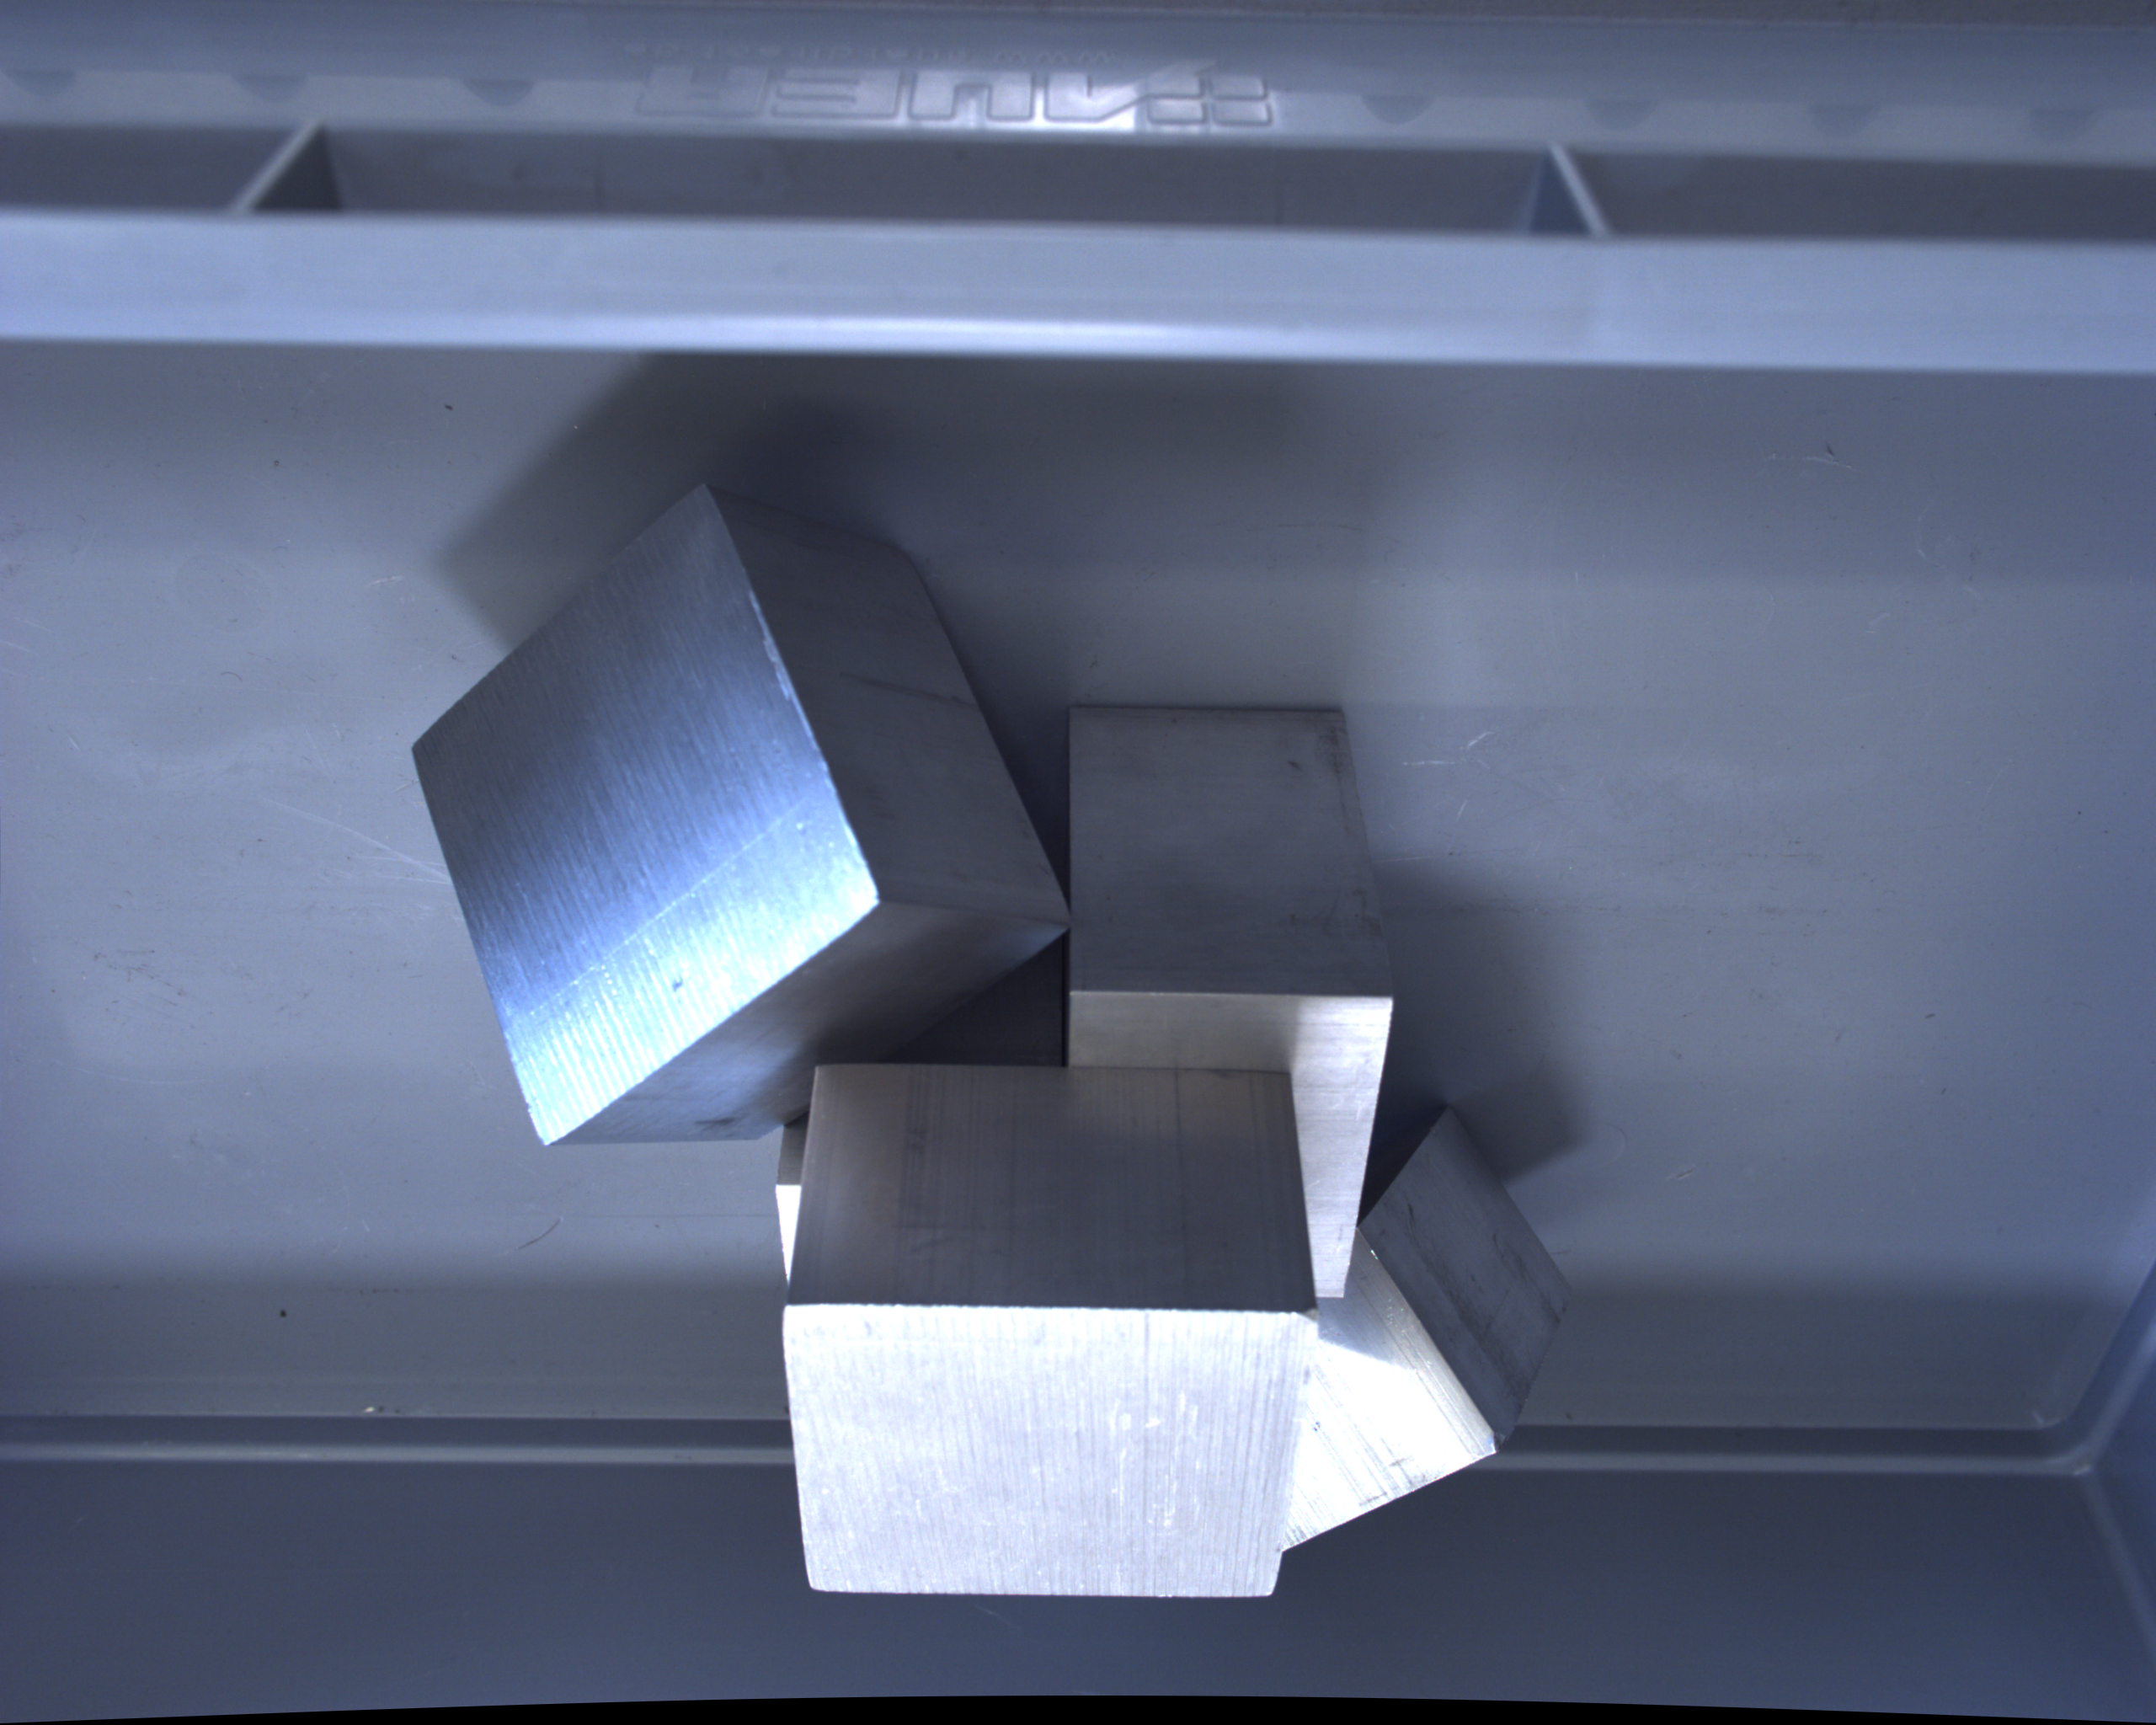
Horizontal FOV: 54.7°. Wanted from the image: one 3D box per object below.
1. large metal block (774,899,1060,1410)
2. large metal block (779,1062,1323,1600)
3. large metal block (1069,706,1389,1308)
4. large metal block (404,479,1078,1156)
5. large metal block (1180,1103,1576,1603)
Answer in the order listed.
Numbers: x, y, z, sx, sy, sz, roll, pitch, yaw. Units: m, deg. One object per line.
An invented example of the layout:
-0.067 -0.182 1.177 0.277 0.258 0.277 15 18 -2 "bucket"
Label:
-0.029 0.063 0.424 0.050 0.080 0.079 1 130 -1 "large metal block"
-0.005 0.080 0.353 0.081 0.050 0.079 1 130 -1 "large metal block"
0.024 0.027 0.392 0.050 0.080 0.079 1 130 -1 "large metal block"
-0.059 -0.005 0.357 0.080 0.080 0.050 -35 157 26 "large metal block"
0.053 0.103 0.449 0.080 0.080 0.050 -34 87 25 "large metal block"
